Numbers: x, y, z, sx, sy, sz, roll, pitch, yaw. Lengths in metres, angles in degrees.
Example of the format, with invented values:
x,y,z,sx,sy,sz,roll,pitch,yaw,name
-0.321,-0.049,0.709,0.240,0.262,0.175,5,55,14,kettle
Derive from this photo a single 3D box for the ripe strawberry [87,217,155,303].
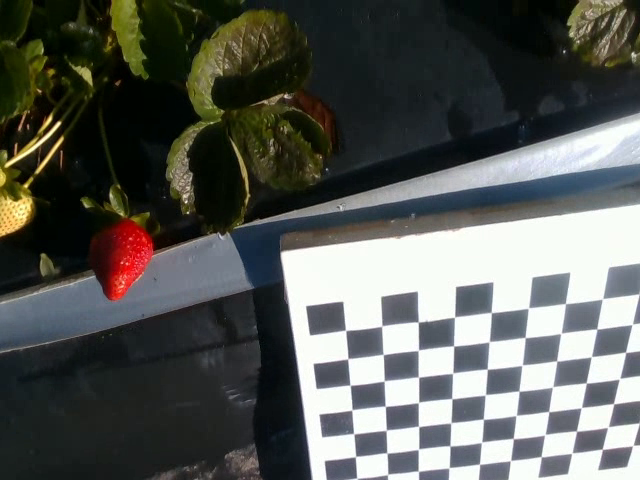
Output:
x,y,z,sx,sy,sz,roll,pitch,yaw,name
-0.098,0.011,0.294,0.036,0.046,0.038,-7,-43,4,ripe strawberry
